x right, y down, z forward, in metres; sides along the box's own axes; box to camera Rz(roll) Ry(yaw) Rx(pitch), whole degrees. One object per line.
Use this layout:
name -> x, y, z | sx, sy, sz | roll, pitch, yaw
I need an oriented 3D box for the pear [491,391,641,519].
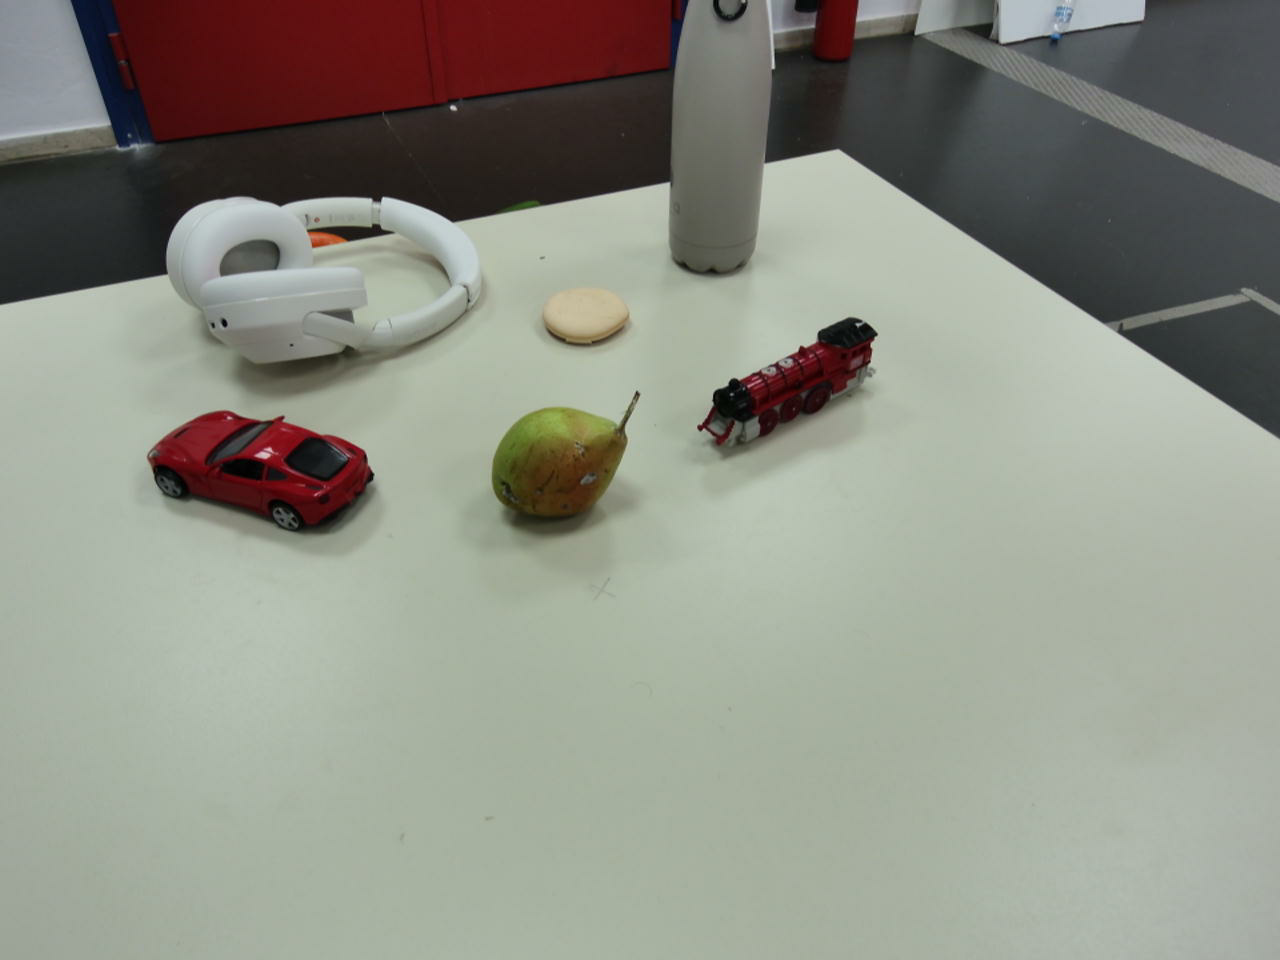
pear -> -0.046, -0.012, 0.560 | 0.070, 0.069, 0.068 | 17, 42, 20
